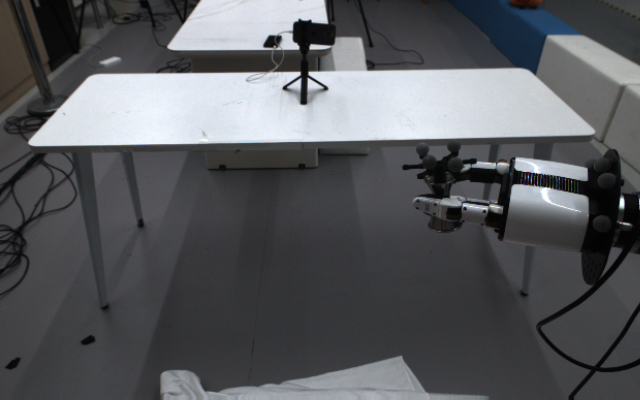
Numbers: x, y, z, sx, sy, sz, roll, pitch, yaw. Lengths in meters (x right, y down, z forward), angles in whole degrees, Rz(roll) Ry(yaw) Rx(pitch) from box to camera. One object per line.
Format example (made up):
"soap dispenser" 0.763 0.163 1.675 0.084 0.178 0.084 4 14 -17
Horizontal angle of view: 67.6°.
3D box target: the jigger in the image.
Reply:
"jigger" 0.158 0.000 0.624 0.043 0.071 0.043 -11 23 5
